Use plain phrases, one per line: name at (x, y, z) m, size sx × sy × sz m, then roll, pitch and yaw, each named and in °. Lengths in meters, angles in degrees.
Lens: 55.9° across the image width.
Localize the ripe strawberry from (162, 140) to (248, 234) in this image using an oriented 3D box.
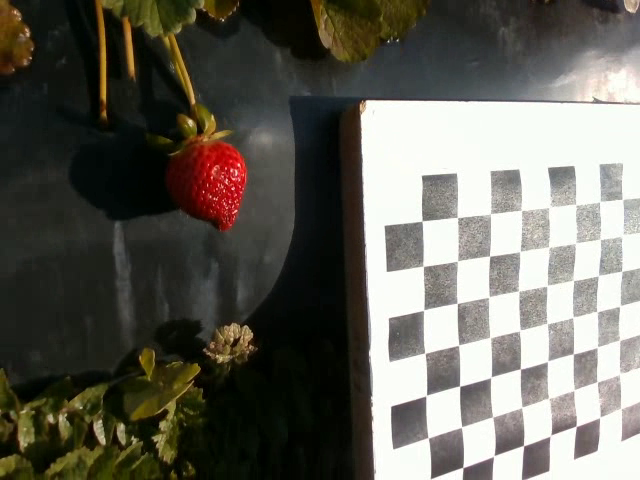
ripe strawberry at (-0.045, -0.020, 0.248) m, size 0.040 × 0.044 × 0.036 m, roll -27°, pitch 4°, yaw -24°
